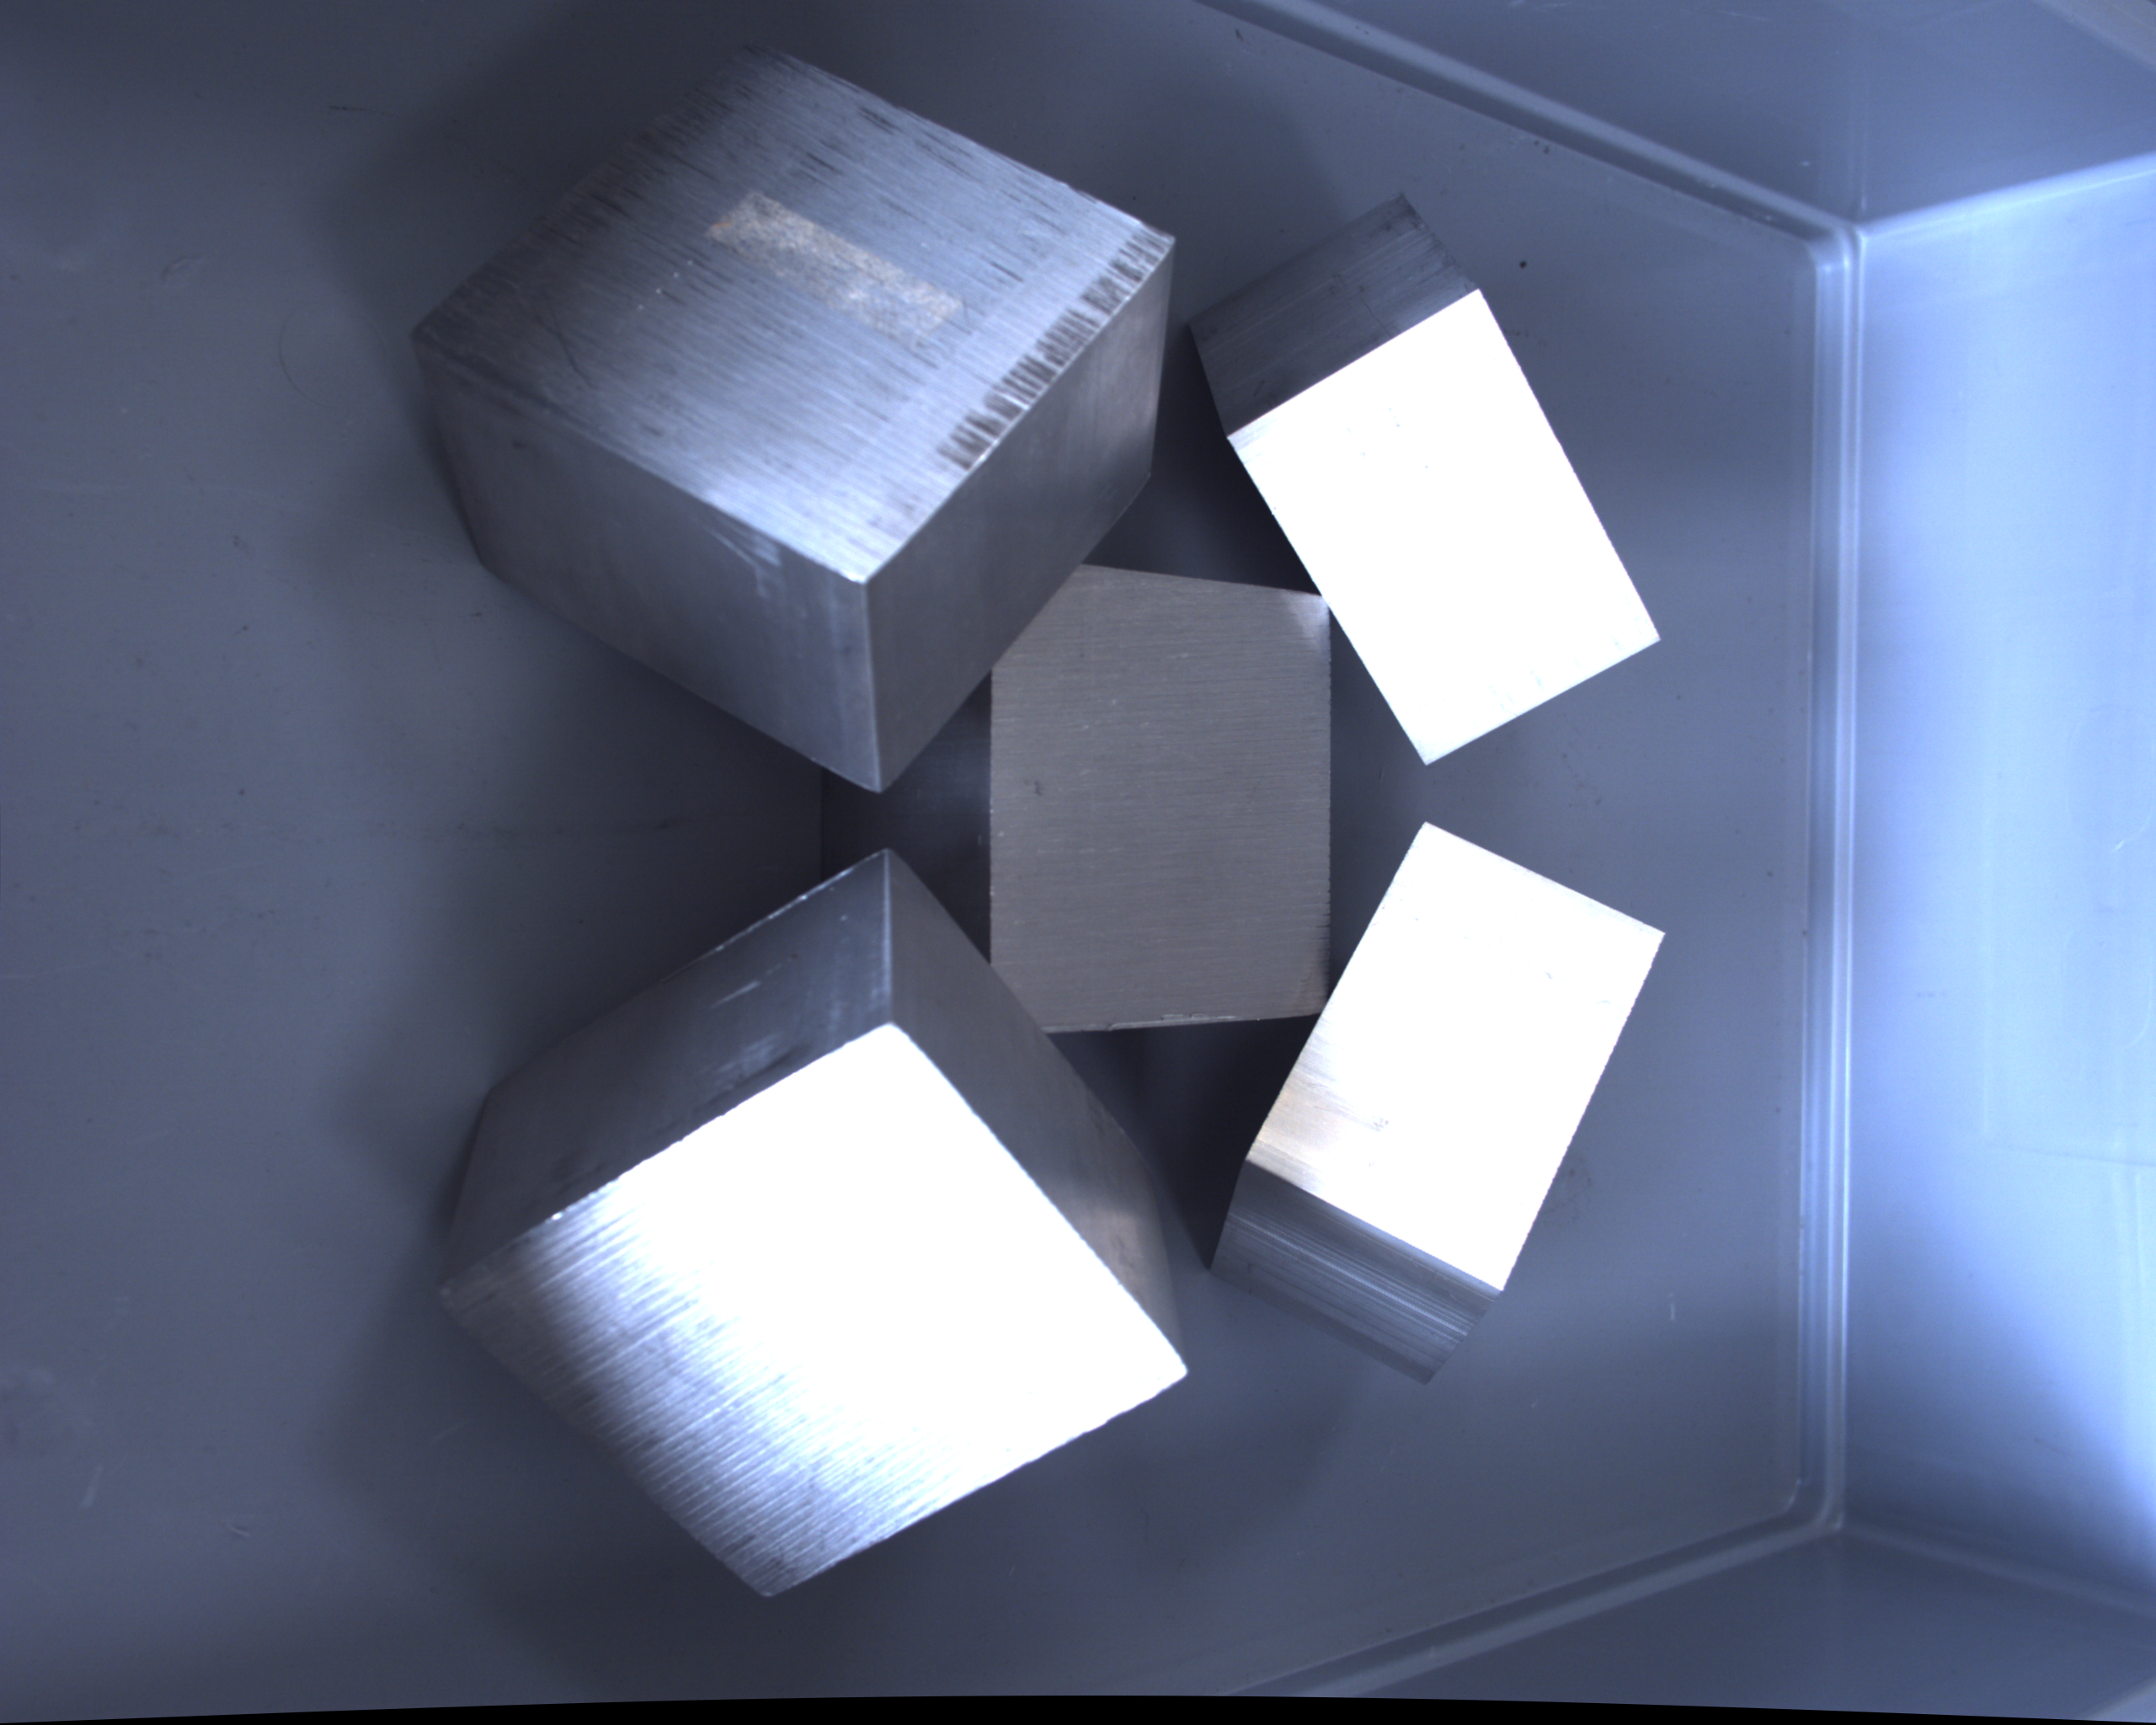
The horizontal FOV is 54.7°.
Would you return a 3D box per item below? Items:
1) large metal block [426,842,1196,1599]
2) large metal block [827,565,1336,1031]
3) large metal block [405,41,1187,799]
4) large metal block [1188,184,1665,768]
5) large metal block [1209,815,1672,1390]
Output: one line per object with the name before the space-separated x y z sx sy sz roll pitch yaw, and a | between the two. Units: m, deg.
large metal block | -0.039 0.057 0.329 0.080 0.050 0.080 -30 118 12
large metal block | 0.001 -0.011 0.388 0.081 0.050 0.080 1 90 -40
large metal block | -0.040 -0.070 0.324 0.080 0.080 0.050 -53 165 -27
large metal block | 0.067 -0.079 0.417 0.080 0.050 0.080 54 16 -26
large metal block | 0.070 0.050 0.419 0.080 0.050 0.080 -59 169 -24
